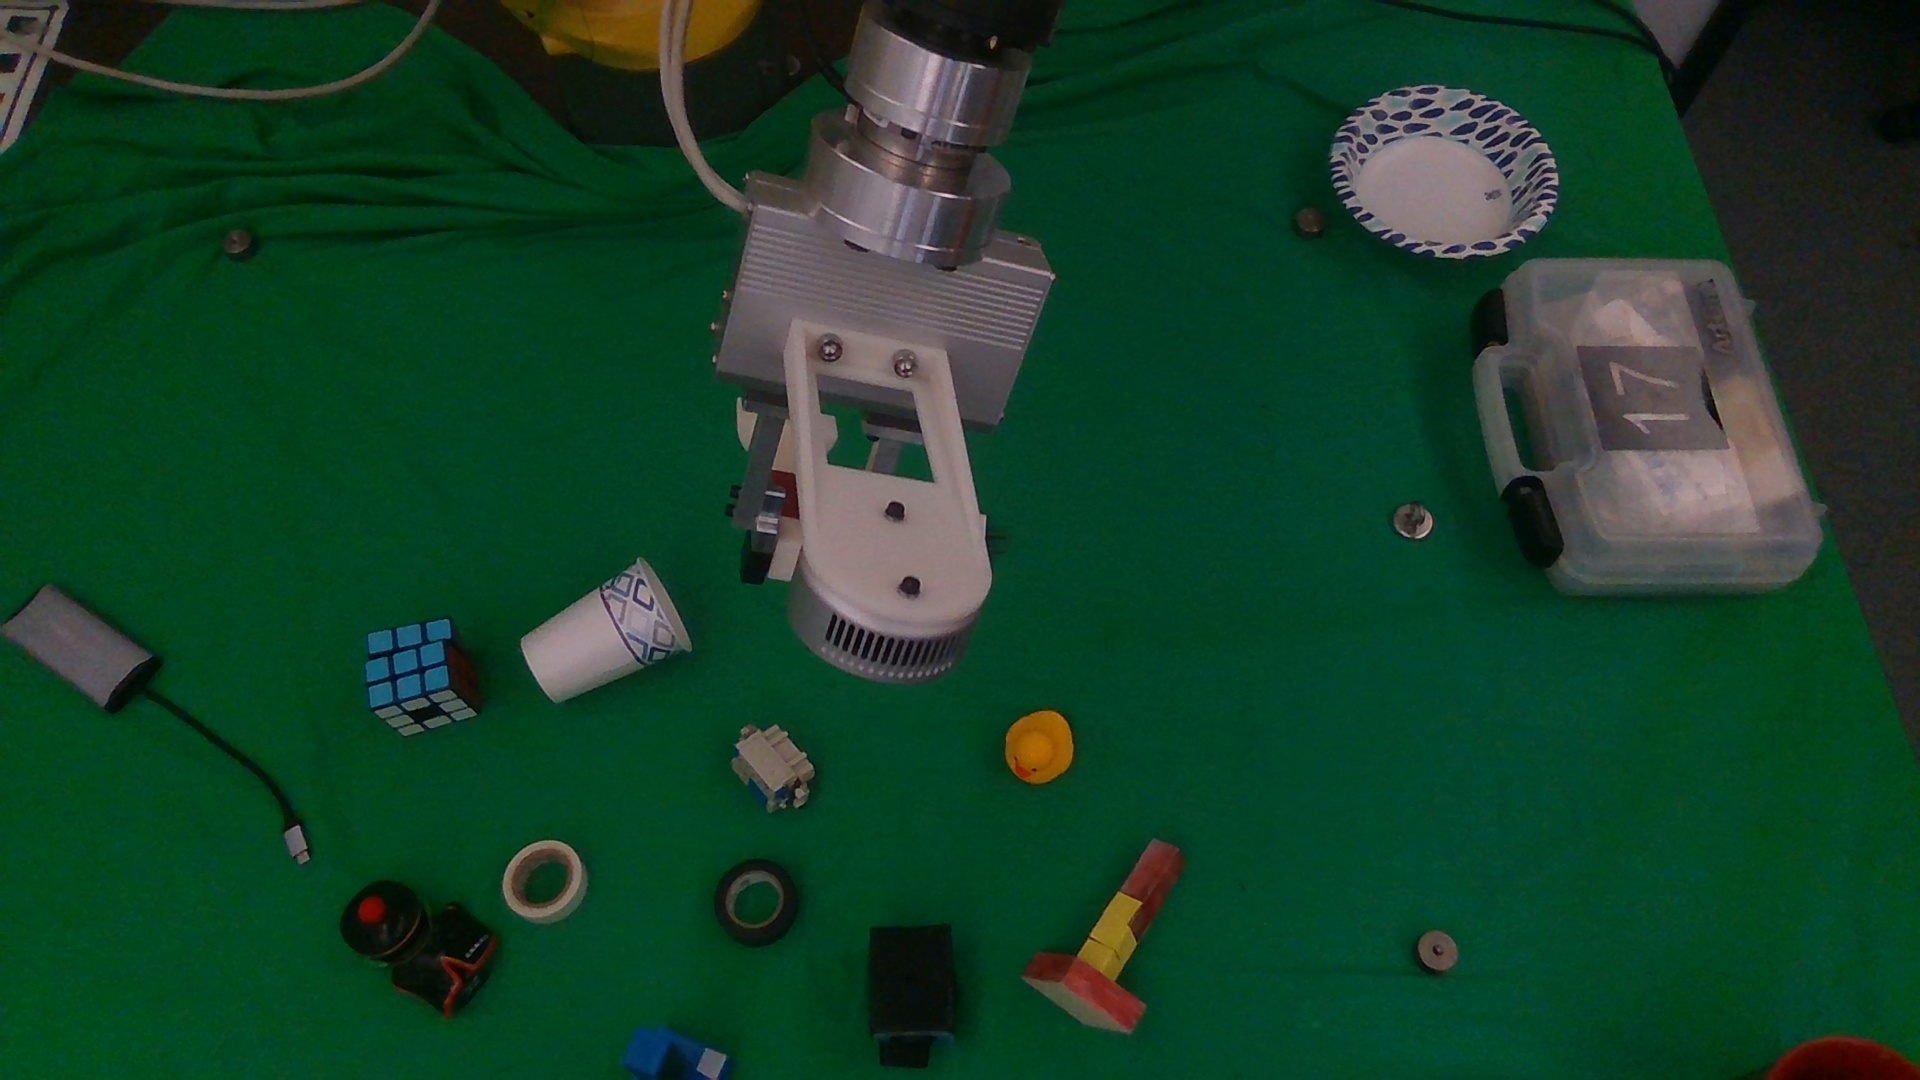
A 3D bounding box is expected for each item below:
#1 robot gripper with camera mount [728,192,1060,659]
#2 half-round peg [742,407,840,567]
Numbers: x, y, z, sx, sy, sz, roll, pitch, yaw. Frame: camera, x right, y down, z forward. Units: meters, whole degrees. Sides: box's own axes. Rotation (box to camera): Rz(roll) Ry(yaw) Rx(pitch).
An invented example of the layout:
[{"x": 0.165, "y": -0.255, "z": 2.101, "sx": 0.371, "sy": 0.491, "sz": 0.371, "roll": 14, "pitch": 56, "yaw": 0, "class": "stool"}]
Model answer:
[{"x": -0.030, "y": -0.005, "z": 0.502, "sx": 0.119, "sy": 0.159, "sz": 0.193, "roll": 10, "pitch": 30, "yaw": -17, "class": "robot gripper with camera mount"}, {"x": -0.070, "y": -0.022, "z": 0.637, "sx": 0.054, "sy": 0.031, "sz": 0.122, "roll": 6, "pitch": 29, "yaw": -16, "class": "half-round peg"}]
